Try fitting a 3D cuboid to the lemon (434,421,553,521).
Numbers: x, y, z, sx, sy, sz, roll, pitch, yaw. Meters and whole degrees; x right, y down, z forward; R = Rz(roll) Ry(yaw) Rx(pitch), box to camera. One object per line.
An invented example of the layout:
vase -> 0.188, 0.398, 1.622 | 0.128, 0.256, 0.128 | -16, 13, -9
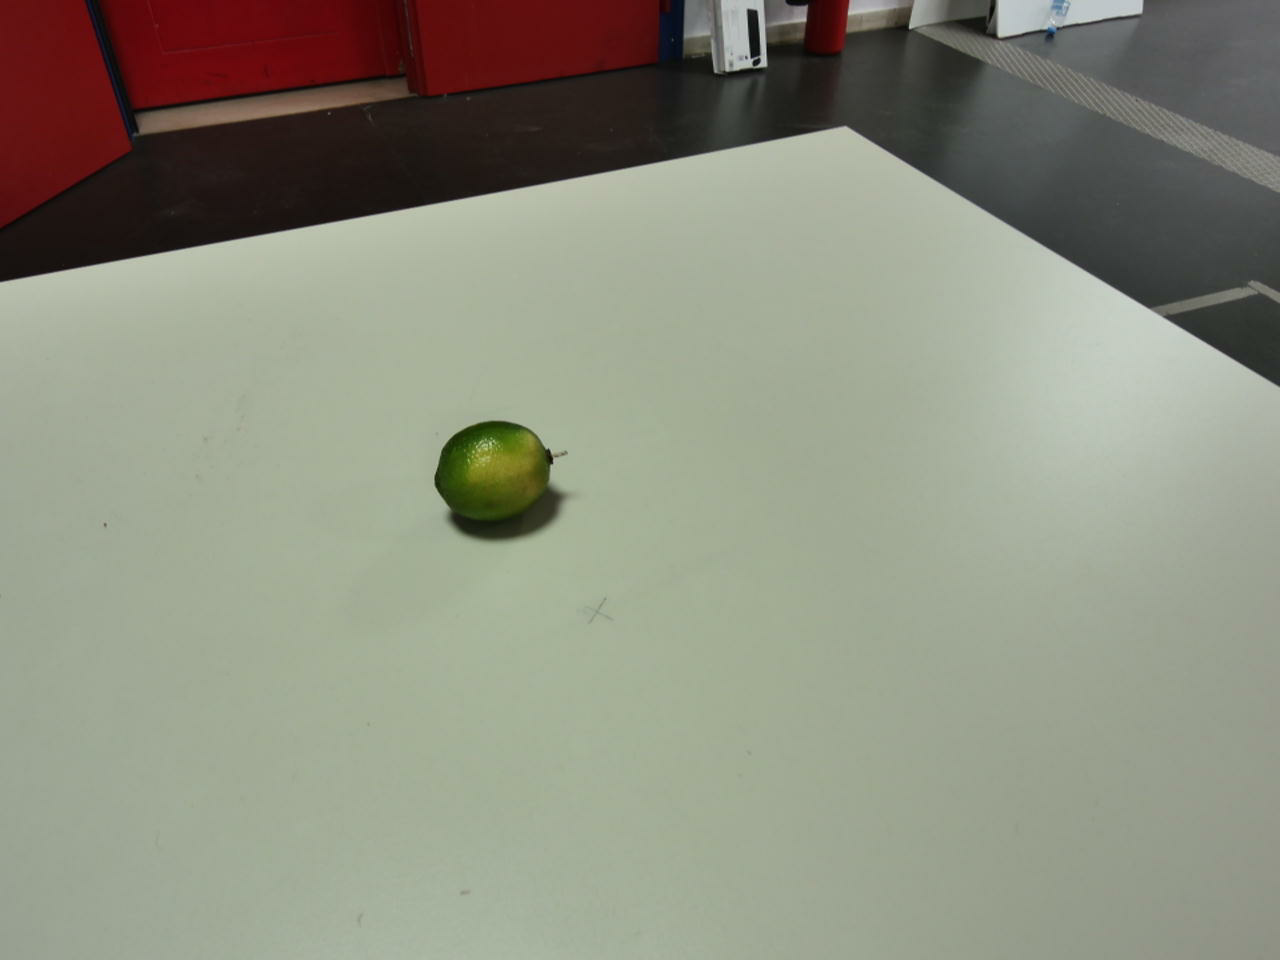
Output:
lemon -> -0.076, -0.005, 0.516 | 0.055, 0.050, 0.054 | 17, 41, 19
